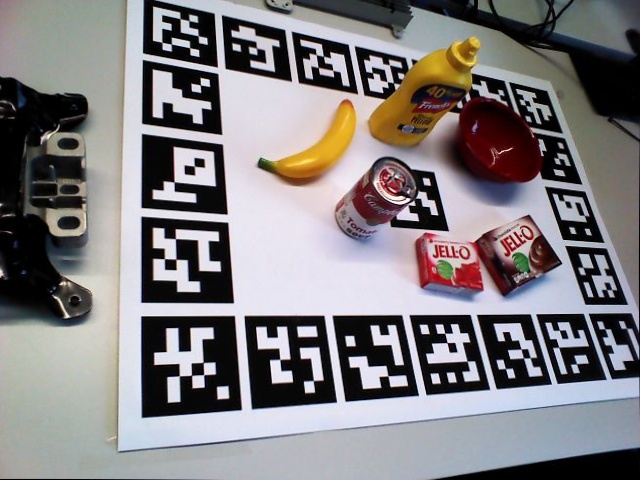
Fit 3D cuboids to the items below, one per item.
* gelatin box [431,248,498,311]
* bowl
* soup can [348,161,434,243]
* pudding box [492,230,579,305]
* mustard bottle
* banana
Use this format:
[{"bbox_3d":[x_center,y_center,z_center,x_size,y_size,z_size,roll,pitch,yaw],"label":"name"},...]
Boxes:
[{"bbox_3d":[0.199,0.054,0.709,0.089,0.030,0.073,10,65,-20],"label":"gelatin box"},{"bbox_3d":[0.306,-0.138,0.846,0.161,0.055,0.161,10,61,-19],"label":"bowl"},{"bbox_3d":[0.087,-0.047,0.650,0.068,0.103,0.067,13,59,-22],"label":"soup can"},{"bbox_3d":[0.321,0.035,0.772,0.113,0.039,0.090,-22,82,-32],"label":"pudding box"},{"bbox_3d":[0.183,-0.198,0.716,0.096,0.193,0.058,4,61,-25],"label":"mustard bottle"},{"bbox_3d":[0.019,-0.134,0.712,0.074,0.039,0.196,35,55,6],"label":"banana"}]
